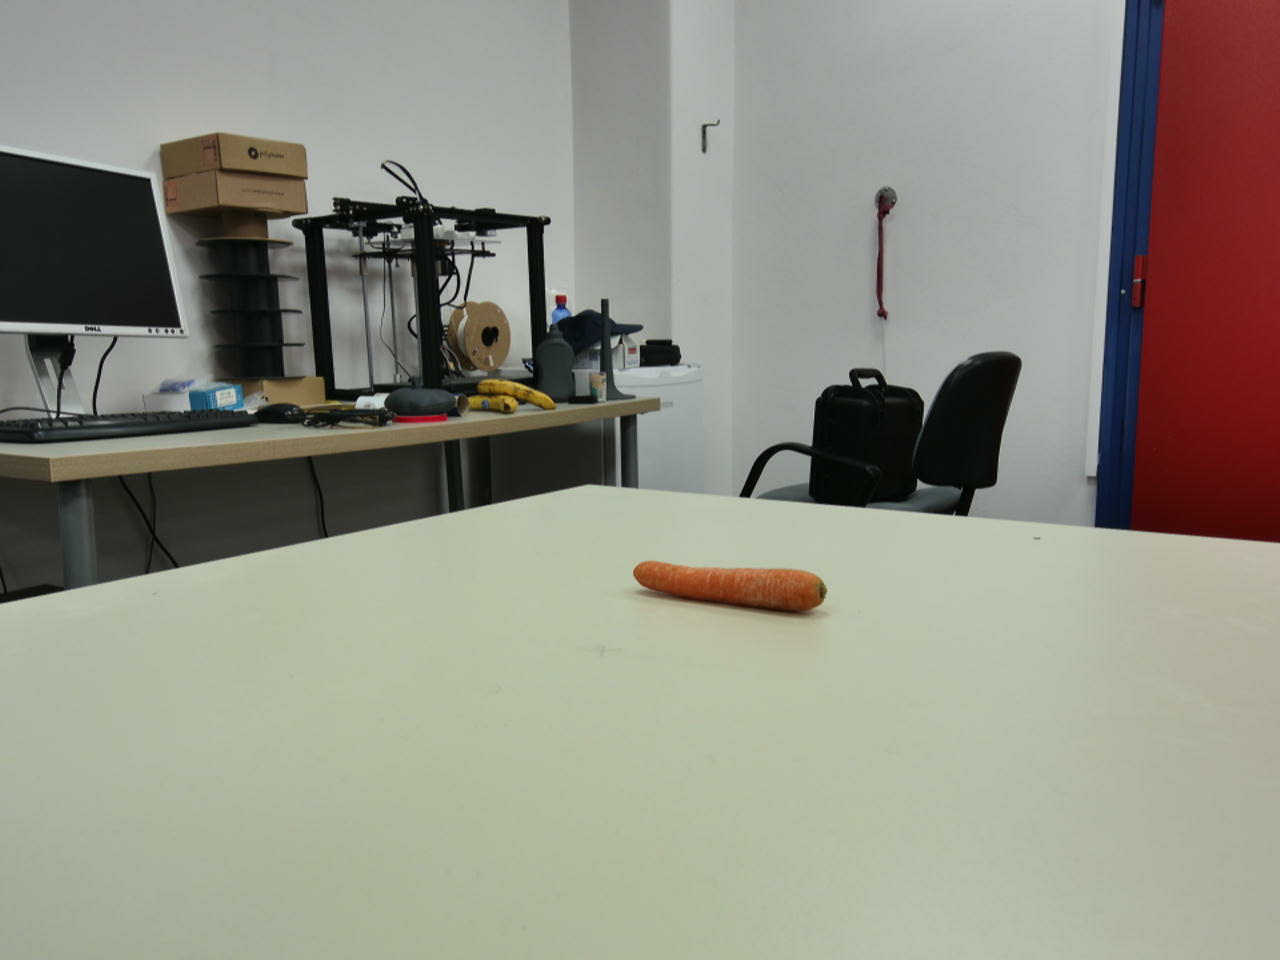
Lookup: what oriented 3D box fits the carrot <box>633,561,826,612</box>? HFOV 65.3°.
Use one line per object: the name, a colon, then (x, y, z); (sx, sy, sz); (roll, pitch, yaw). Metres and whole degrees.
carrot: (0.049, 0.059, 0.579); (0.122, 0.023, 0.024); (5, 7, 32)
